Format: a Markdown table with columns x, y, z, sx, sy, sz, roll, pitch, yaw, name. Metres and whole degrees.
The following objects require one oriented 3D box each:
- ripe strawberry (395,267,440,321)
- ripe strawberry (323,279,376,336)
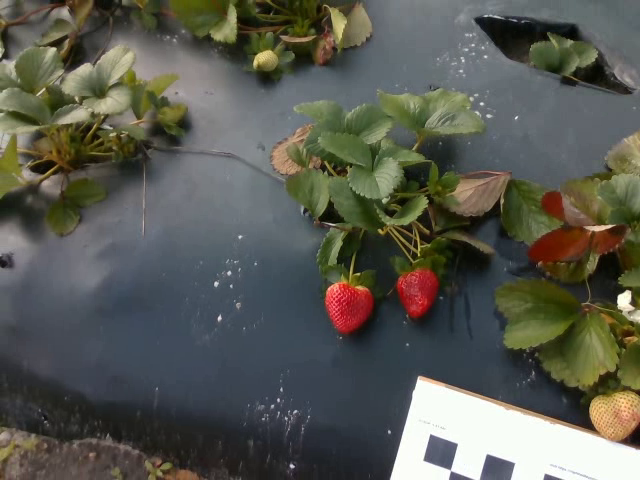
| x | y | z | sx | sy | sz | roll | pitch | yaw | name |
| --- | --- | --- | --- | --- | --- | --- | --- | --- | --- |
| 0.091 | 0.048 | 0.492 | 0.042 | 0.053 | 0.034 | -1 | -37 | 13 | ripe strawberry |
| 0.026 | 0.065 | 0.495 | 0.050 | 0.061 | 0.045 | 4 | -40 | 14 | ripe strawberry |
